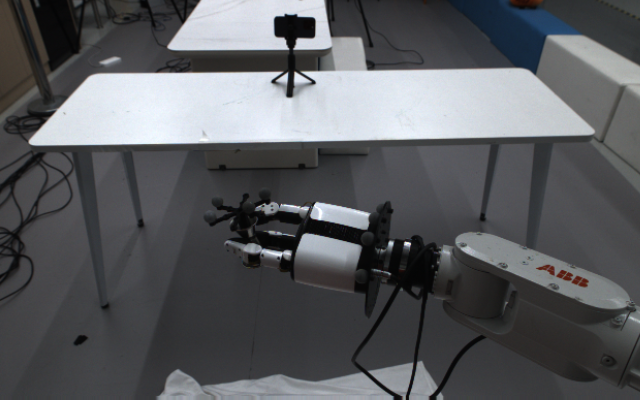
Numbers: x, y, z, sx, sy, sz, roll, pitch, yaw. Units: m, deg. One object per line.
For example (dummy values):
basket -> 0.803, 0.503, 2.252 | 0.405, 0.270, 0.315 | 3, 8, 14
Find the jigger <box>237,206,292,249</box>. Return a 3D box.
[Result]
jigger -> -0.099, 0.058, 0.692 | 0.043, 0.071, 0.043 | -10, 32, 6
